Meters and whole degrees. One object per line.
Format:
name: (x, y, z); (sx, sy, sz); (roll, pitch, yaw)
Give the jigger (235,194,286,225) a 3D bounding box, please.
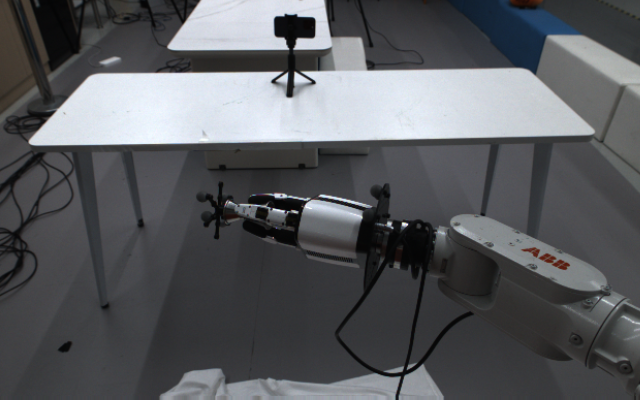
jigger: (-0.099, 0.016, 0.734); (0.071, 0.043, 0.043); (4, 34, 15)
